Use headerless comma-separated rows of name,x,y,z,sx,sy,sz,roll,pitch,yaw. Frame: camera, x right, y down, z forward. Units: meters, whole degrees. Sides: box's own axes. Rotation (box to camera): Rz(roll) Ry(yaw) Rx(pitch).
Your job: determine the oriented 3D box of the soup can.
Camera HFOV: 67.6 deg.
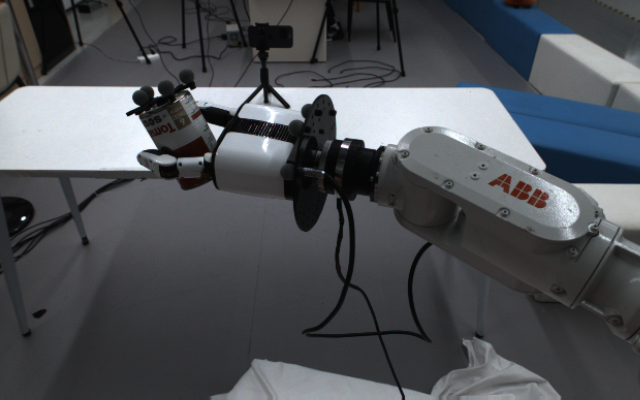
soup can,-0.162,-0.071,0.588,0.067,0.101,0.067,-21,24,10
